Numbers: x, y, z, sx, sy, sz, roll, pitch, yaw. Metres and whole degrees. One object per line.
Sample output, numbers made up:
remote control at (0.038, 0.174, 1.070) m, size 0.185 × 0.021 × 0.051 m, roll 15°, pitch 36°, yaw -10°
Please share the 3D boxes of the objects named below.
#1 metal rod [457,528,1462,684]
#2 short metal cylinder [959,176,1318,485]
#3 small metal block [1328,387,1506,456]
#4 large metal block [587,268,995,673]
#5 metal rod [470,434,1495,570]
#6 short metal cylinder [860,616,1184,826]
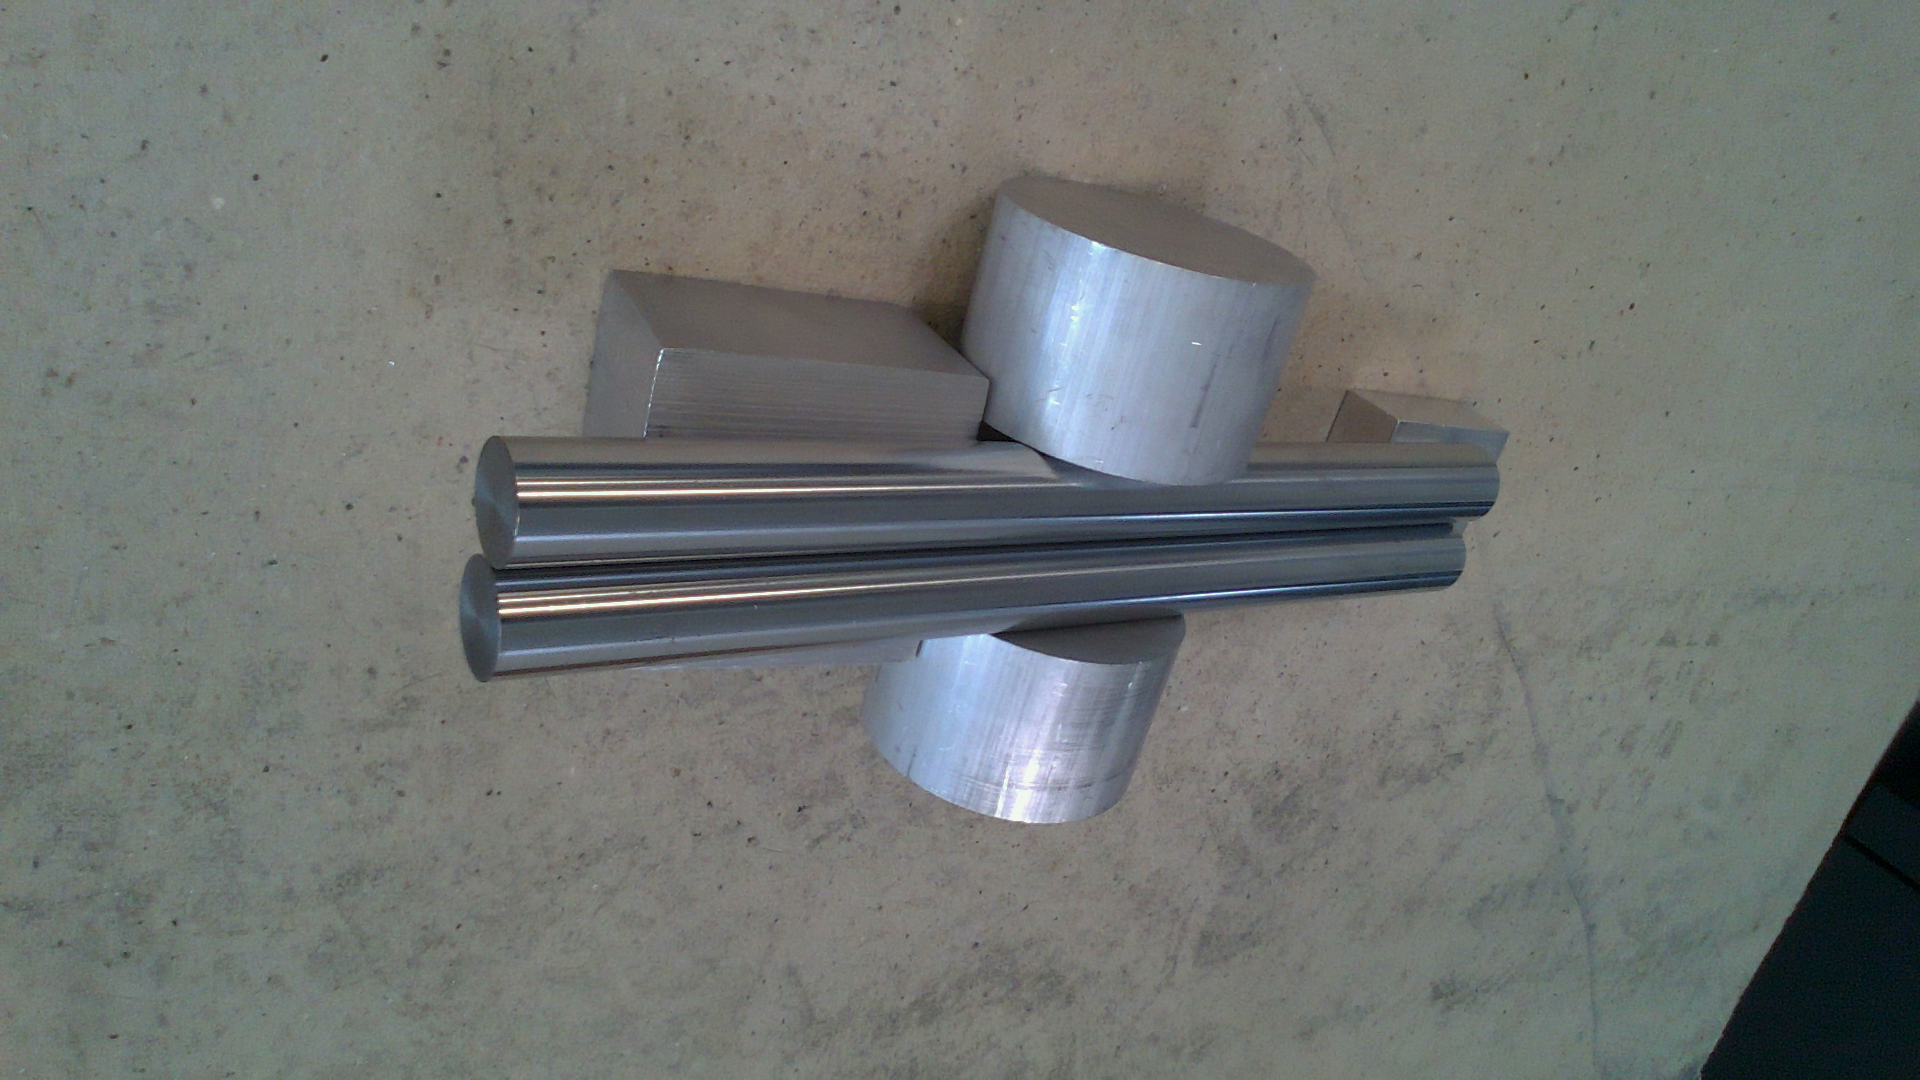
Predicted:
metal rod at (0.029, 0.009, 0.353) m, size 0.301 × 0.025 × 0.025 m, roll -3°, pitch 120°, yaw -36°
short metal cylinder at (0.042, -0.054, 0.344) m, size 0.080 × 0.080 × 0.050 m, roll 1°, pitch 118°, yaw -29°
small metal block at (0.144, -0.020, 0.455) m, size 0.050 × 0.025 × 0.050 m, roll 3°, pitch 117°, yaw -29°
large metal block at (-0.047, -0.016, 0.338) m, size 0.080 × 0.050 × 0.080 m, roll 2°, pitch 118°, yaw -29°
metal rod at (0.035, -0.013, 0.343) m, size 0.301 × 0.025 × 0.025 m, roll -3°, pitch 120°, yaw -36°
short metal cylinder at (0.016, 0.034, 0.384) m, size 0.080 × 0.080 × 0.050 m, roll 1°, pitch 118°, yaw -29°
